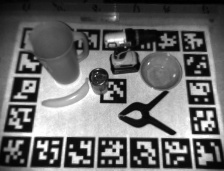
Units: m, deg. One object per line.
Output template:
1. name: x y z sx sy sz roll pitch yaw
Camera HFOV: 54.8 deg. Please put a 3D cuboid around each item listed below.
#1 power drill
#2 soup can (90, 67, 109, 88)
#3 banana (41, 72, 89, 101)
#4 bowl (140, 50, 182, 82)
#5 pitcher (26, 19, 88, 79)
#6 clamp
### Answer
1. power drill: 0.072 -0.156 0.769 0.185 0.187 0.057 -5 71 -2
2. soup can: -0.044 -0.043 0.795 0.068 0.102 0.067 0 63 1
3. banana: -0.167 0.017 0.809 0.198 0.039 0.073 -24 64 -10
4. bowl: 0.183 -0.075 0.831 0.161 0.055 0.161 0 73 0
5. pitcher: -0.167 -0.123 0.747 0.189 0.243 0.132 -24 69 -7
6. clamp: 0.124 0.076 0.782 0.203 0.037 0.165 -3 75 -1
